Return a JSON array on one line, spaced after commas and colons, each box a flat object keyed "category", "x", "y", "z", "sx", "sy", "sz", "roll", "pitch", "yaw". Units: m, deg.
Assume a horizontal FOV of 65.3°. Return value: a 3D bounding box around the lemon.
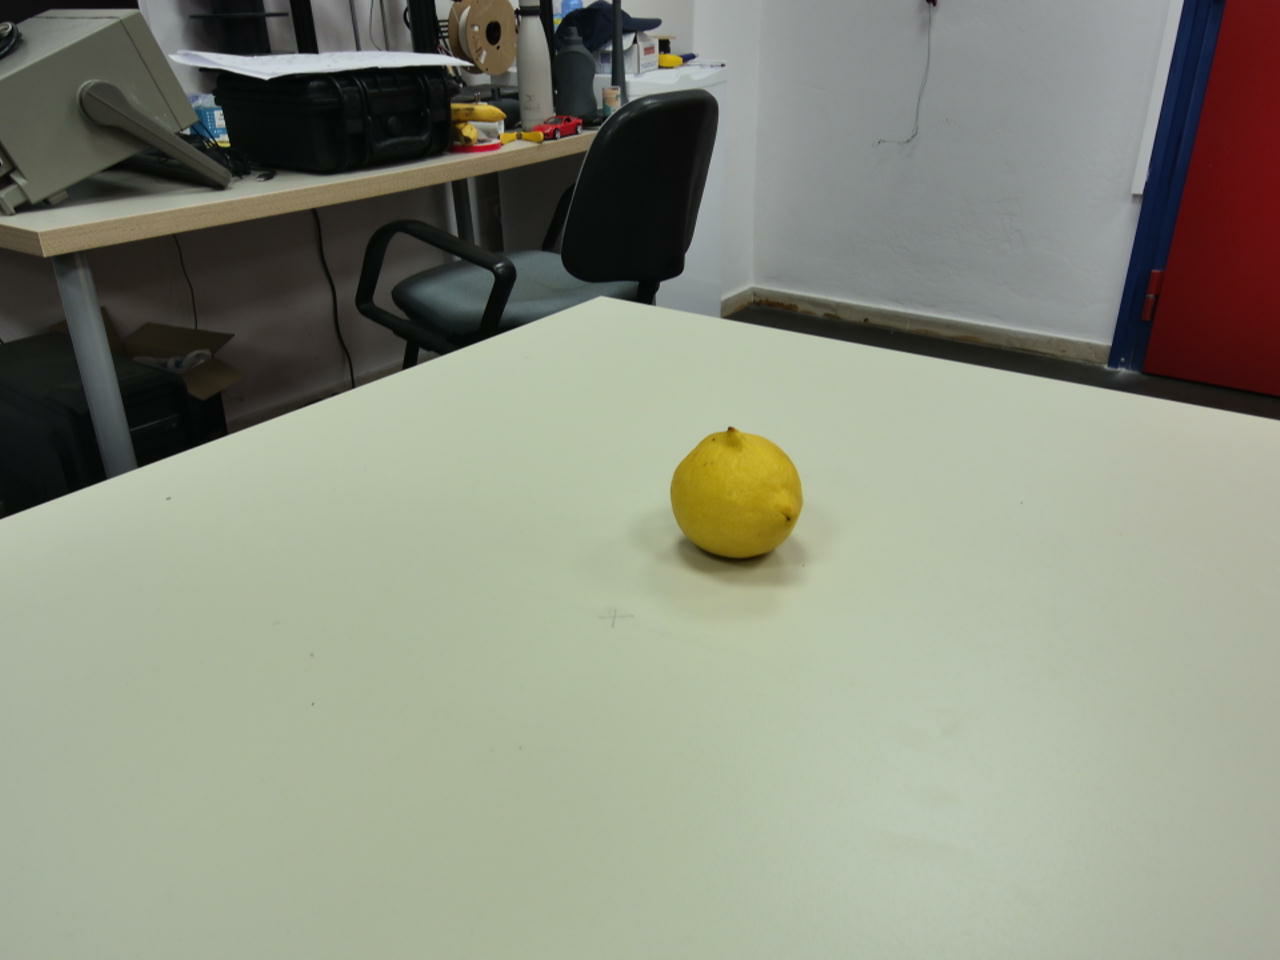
[{"category": "lemon", "x": 0.051, "y": 0.005, "z": 0.537, "sx": 0.070, "sy": 0.071, "sz": 0.071, "roll": 1, "pitch": 24, "yaw": 3}]
